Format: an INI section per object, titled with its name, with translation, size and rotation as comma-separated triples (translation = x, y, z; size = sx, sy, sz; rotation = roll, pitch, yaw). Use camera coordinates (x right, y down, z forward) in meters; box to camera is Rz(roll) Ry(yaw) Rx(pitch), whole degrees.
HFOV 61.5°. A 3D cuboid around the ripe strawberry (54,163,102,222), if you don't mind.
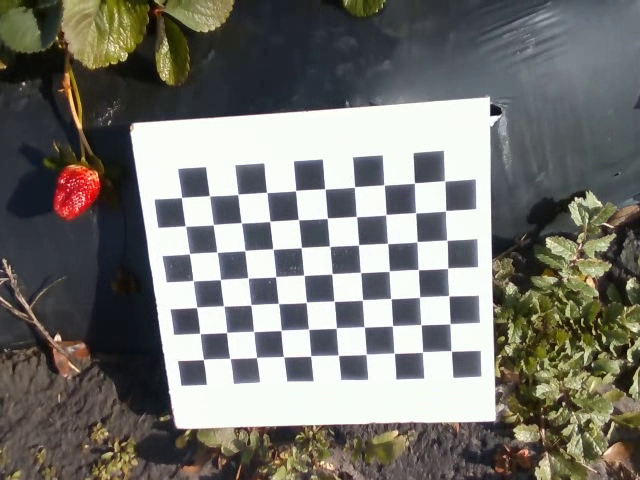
[ripe strawberry]
translation = -0.073, -0.015, 0.159
size = 0.015, 0.023, 0.015
rotation = 4, -38, 3
